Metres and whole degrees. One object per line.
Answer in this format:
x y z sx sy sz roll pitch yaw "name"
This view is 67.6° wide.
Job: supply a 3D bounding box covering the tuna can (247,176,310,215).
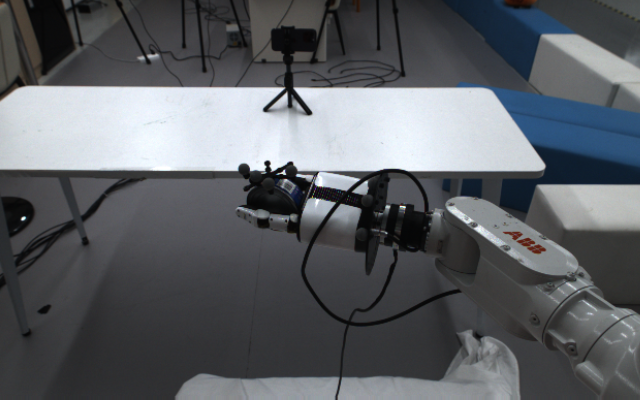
-0.065 0.004 0.738 0.085 0.085 0.034 14 40 16 "tuna can"
